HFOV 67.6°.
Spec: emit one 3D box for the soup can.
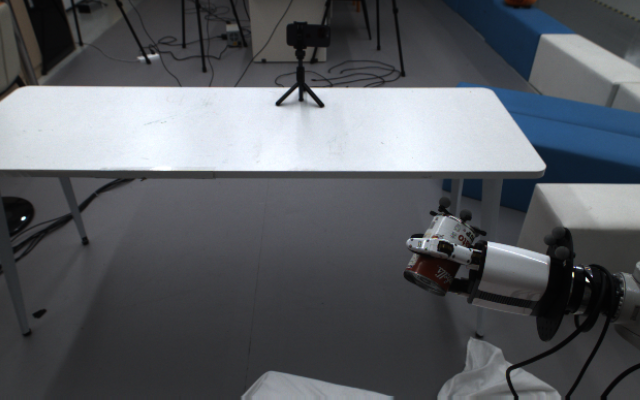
[{"bbox_3d":[0.175,0.078,0.704,0.067,0.067,0.101,24,72,28],"label":"soup can"}]
